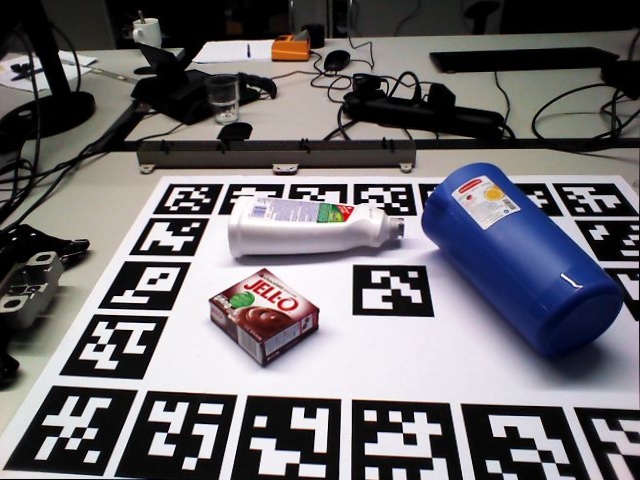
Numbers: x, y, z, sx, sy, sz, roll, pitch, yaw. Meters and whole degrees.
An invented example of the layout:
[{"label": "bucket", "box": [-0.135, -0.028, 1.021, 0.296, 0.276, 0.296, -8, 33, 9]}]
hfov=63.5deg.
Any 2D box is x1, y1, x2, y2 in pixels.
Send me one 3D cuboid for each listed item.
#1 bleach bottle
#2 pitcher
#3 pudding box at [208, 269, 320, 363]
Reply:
[{"label": "bleach bottle", "box": [0.002, -0.022, 0.753, 0.251, 0.068, 0.102, 0, 42, 2]}, {"label": "pitcher", "box": [0.254, 0.031, 0.635, 0.188, 0.134, 0.242, 16, 31, -35]}, {"label": "pudding box", "box": [-0.070, 0.087, 0.626, 0.089, 0.039, 0.114, -24, 43, -33]}]
